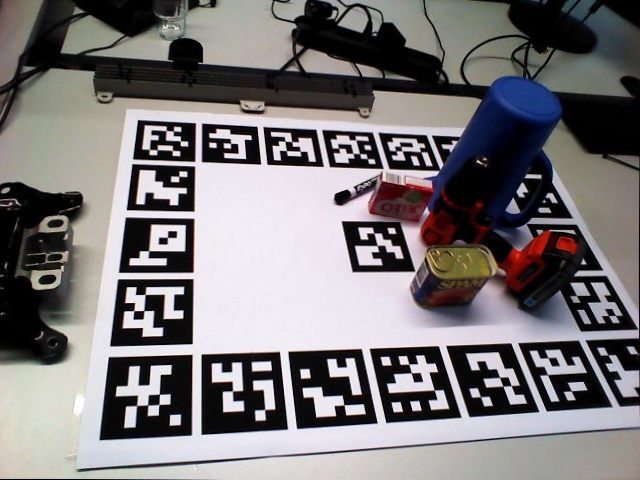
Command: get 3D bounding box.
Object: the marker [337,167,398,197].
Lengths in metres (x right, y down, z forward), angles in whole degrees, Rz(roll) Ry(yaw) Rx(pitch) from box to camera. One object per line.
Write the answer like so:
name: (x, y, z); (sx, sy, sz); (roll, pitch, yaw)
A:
marker: (0.081, -0.098, 0.882); (0.120, 0.020, 0.019); (-22, 61, -26)

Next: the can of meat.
can of meat: (0.191, 0.055, 0.743); (0.102, 0.084, 0.057); (1, 50, -12)

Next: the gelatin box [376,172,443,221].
gelatin box: (0.144, -0.069, 0.842); (0.089, 0.074, 0.030); (11, 55, -6)

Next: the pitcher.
pitcher: (0.299, -0.116, 0.812); (0.189, 0.243, 0.132); (23, 54, 14)

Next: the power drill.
power drill: (0.259, -0.022, 0.759); (0.187, 0.186, 0.057); (32, 55, 6)
